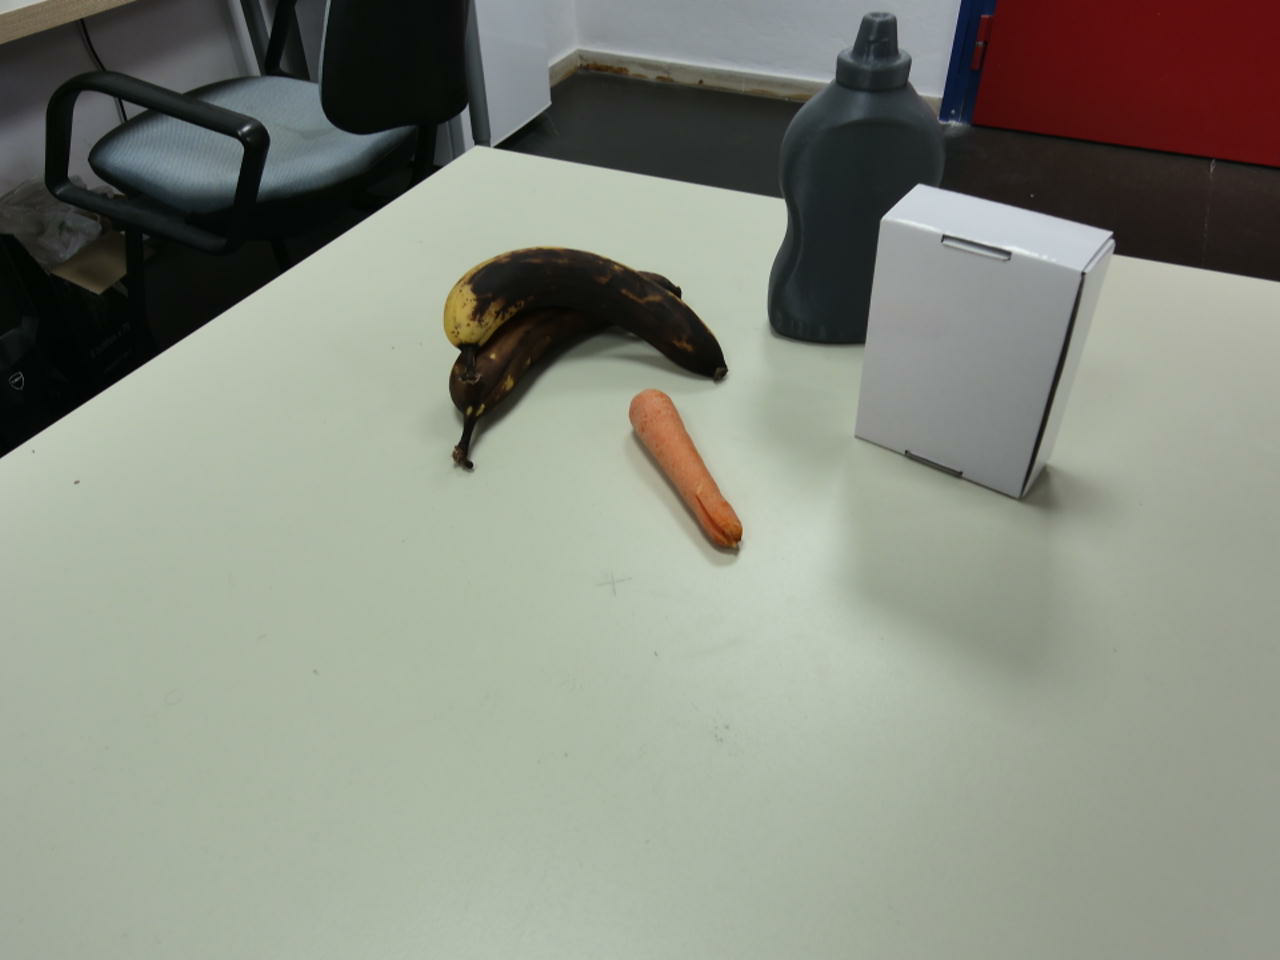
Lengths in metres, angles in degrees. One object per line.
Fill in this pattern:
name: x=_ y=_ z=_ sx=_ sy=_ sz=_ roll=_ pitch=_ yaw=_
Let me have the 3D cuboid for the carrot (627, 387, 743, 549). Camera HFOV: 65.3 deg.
carrot: x=0.024 y=-0.011 z=0.575 sx=0.030 sy=0.032 sz=0.136 roll=-13 pitch=39 yaw=-15
